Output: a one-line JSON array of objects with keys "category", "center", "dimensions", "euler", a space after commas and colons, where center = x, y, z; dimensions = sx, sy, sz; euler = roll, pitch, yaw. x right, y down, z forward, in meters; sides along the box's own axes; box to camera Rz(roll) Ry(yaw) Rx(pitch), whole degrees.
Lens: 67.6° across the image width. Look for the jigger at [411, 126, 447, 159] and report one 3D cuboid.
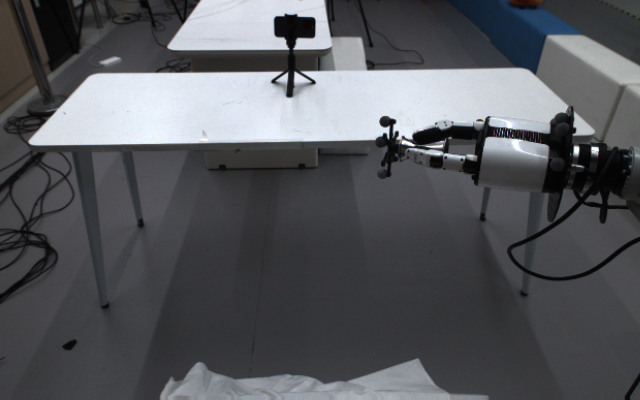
[{"category": "jigger", "center": [0.161, -0.078, 0.727], "dimensions": [0.071, 0.043, 0.043], "euler": [6, 34, 21]}]
